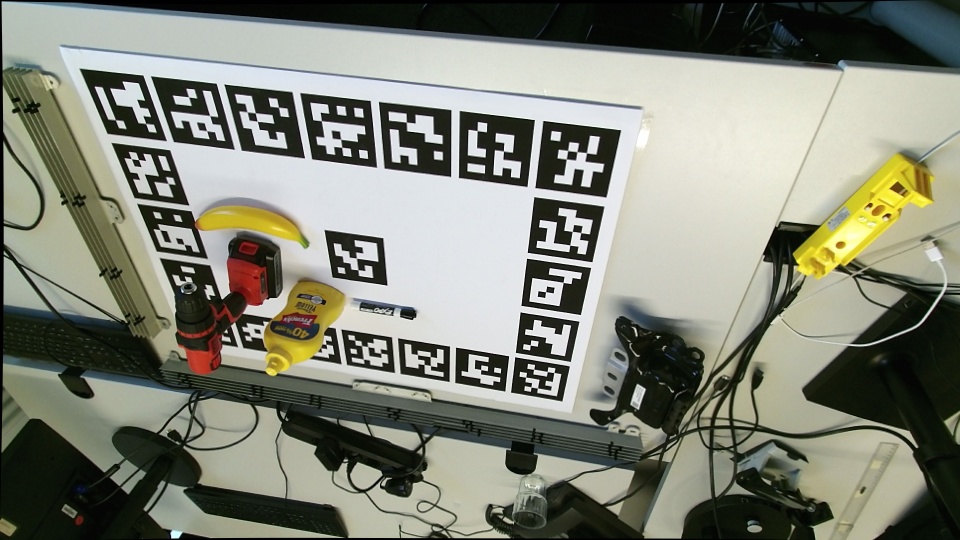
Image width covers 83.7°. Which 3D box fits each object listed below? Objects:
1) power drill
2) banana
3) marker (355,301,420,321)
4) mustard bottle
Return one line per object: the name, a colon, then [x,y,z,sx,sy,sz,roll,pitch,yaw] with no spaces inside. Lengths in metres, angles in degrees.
power drill: [-0.412,0.040,0.888,0.057,0.186,0.184,20,128,0]
banana: [-0.381,-0.084,0.914,0.198,0.039,0.074,14,124,0]
marker: [-0.171,0.076,0.990,0.121,0.019,0.019,10,125,5]
mustard bottle: [-0.309,0.098,0.928,0.096,0.191,0.058,18,126,1]
